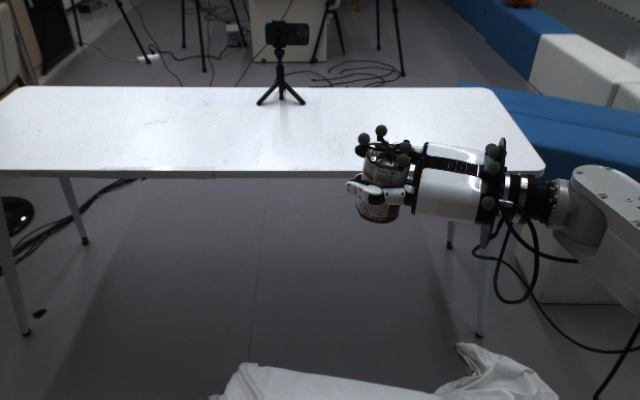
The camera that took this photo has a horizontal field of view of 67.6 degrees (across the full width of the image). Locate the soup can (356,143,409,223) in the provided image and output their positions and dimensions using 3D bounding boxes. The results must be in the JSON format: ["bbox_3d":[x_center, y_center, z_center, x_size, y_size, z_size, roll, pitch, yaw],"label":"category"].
[{"bbox_3d":[0.095,-0.025,0.721,0.067,0.101,0.067,5,36,-3],"label":"soup can"}]
